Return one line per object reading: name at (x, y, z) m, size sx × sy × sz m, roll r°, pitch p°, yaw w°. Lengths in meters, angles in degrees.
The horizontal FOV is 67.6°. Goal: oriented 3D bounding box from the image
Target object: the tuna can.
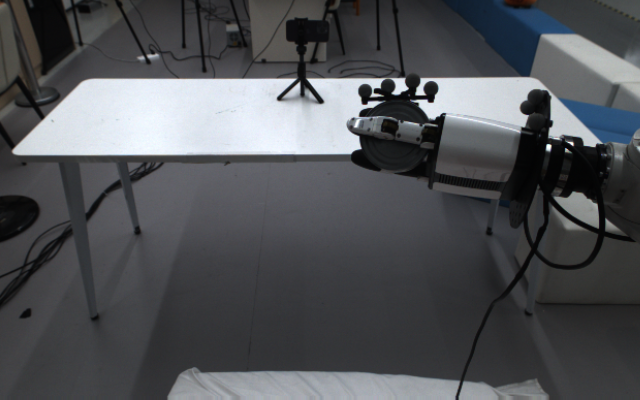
tuna can at (0.094, -0.078, 0.591) m, size 0.085 × 0.085 × 0.034 m, roll 12°, pitch 0°, yaw 14°
